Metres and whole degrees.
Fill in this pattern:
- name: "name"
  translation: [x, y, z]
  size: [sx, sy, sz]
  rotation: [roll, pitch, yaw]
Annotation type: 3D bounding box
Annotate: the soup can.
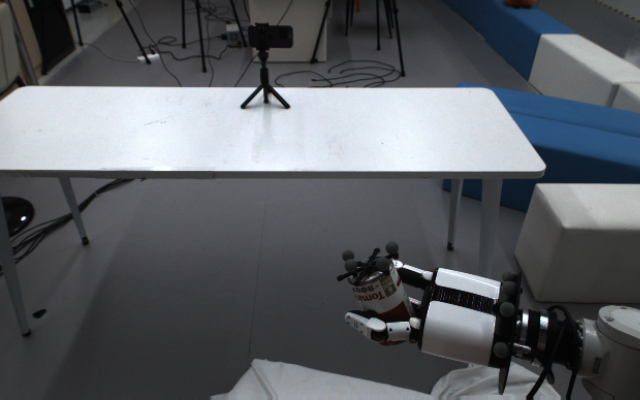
- name: "soup can"
  translation: [0.089, 0.136, 0.662]
  size: [0.067, 0.101, 0.067]
  rotation: [-23, 16, 7]
